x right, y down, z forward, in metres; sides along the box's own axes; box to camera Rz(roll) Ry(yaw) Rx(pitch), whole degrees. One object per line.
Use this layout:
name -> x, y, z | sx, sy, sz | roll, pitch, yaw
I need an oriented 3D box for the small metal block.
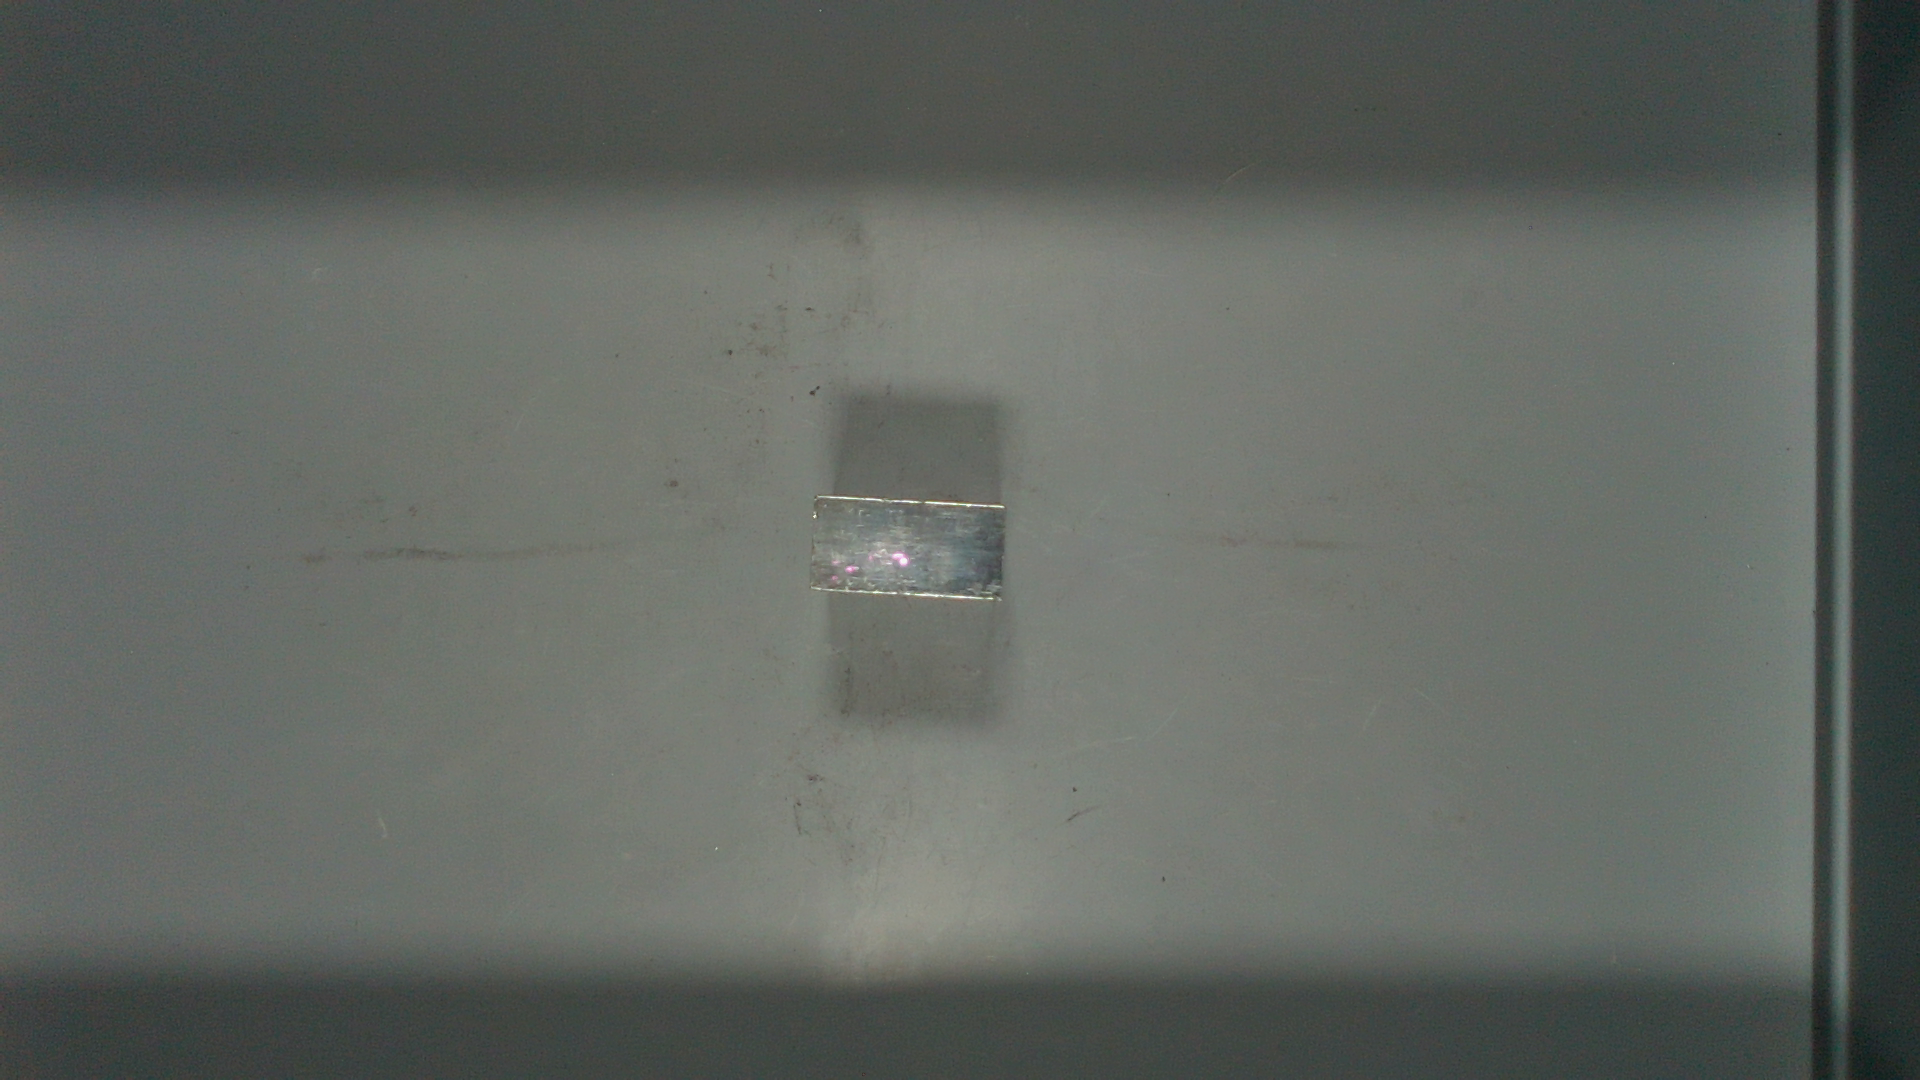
small metal block -> -0.013, 0.002, 0.380 | 0.050, 0.050, 0.025 | 3, 90, 0
